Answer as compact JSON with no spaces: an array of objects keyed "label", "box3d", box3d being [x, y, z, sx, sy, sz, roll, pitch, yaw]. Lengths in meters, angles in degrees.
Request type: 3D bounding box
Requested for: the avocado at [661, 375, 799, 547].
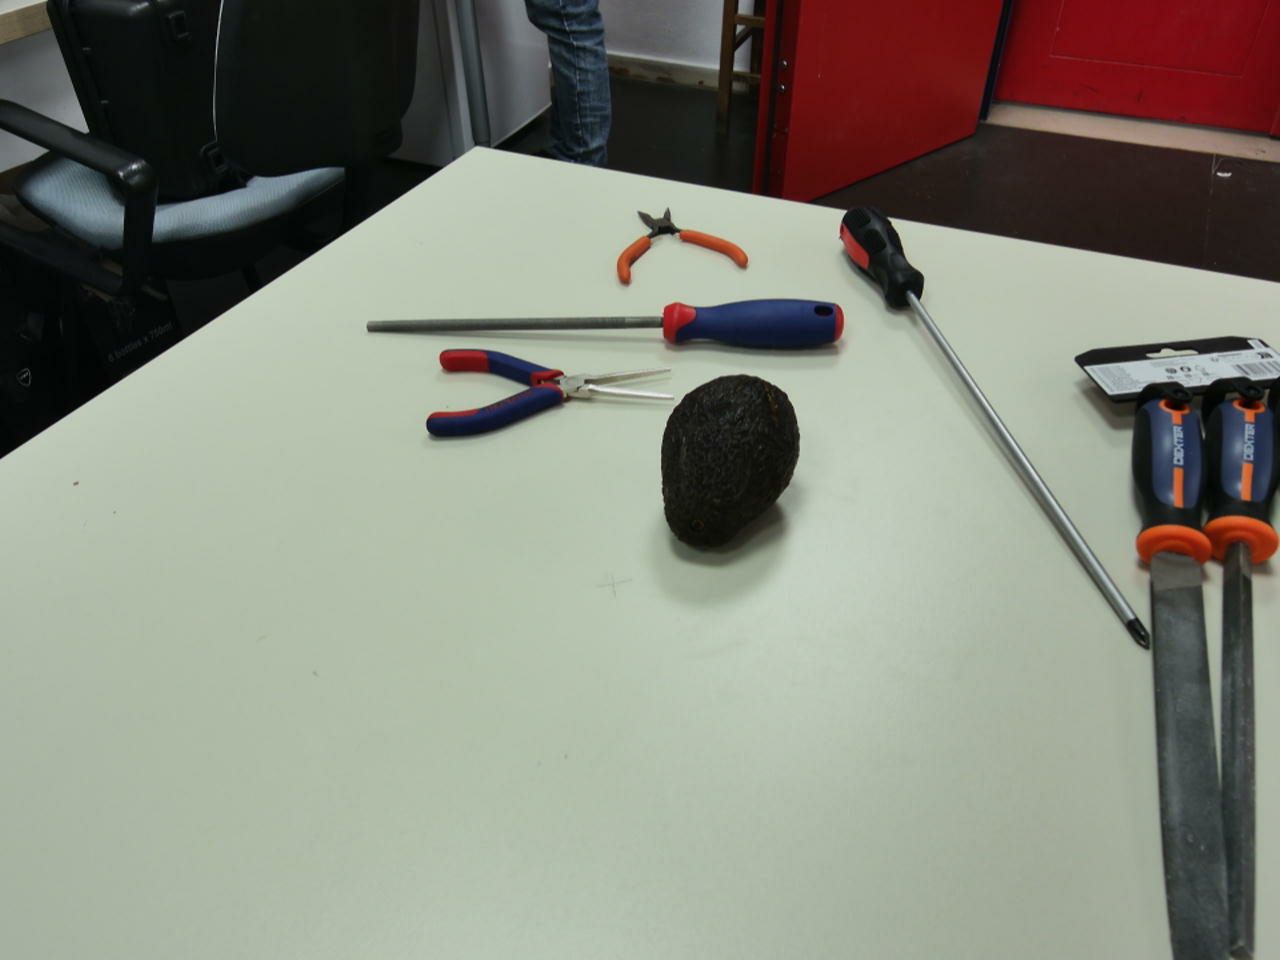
[{"label":"avocado","box3d":[0.042,-0.015,0.511,0.090,0.069,0.070,-26,45,-30]}]
